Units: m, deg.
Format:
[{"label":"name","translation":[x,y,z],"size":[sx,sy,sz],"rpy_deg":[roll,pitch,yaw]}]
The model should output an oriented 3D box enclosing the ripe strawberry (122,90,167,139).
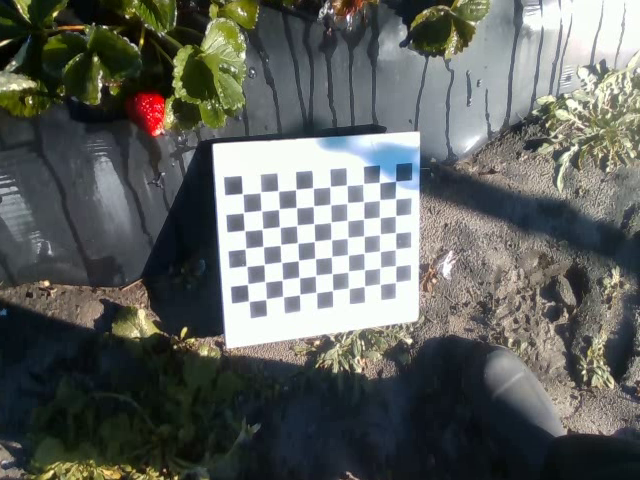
[{"label":"ripe strawberry","translation":[-0.162,-0.119,0.633],"size":[0.041,0.053,0.047],"rpy_deg":[-13,-23,-15]}]
